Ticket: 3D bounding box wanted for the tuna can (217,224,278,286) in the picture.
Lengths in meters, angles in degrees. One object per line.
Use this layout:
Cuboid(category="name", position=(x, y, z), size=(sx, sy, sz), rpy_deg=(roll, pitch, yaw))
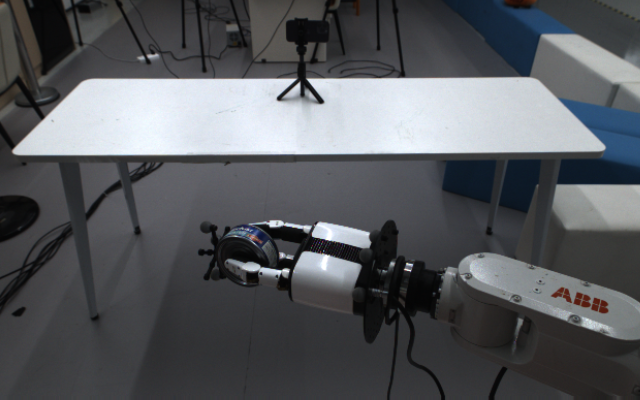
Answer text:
Cuboid(category="tuna can", position=(-0.100, 0.077, 0.678), size=(0.085, 0.085, 0.034), rpy_deg=(12, 28, 14))
